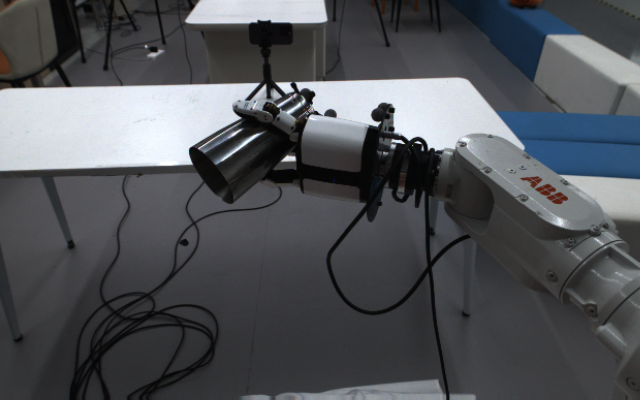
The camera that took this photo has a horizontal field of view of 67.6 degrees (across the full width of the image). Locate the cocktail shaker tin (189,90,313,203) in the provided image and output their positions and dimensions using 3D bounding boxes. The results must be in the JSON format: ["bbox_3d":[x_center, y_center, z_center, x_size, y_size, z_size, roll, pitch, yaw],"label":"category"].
[{"bbox_3d":[-0.085,-0.086,0.676,0.170,0.093,0.093,-38,50,-24],"label":"cocktail shaker tin"}]
